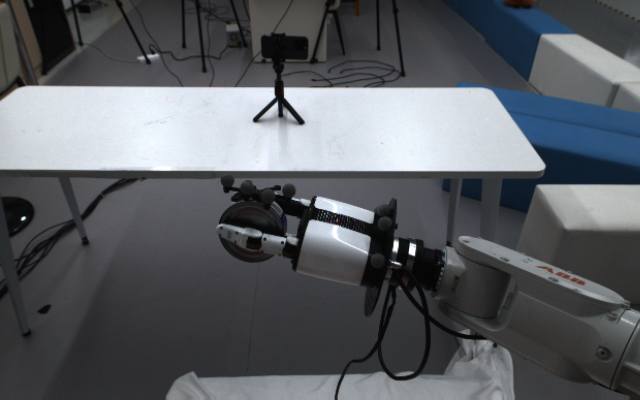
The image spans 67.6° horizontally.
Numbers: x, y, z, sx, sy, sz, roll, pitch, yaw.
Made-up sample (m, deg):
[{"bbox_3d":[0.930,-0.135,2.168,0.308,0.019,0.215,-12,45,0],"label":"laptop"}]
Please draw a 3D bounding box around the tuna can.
[{"bbox_3d":[-0.085,0.036,0.630,0.085,0.085,0.034,5,18,5],"label":"tuna can"}]
